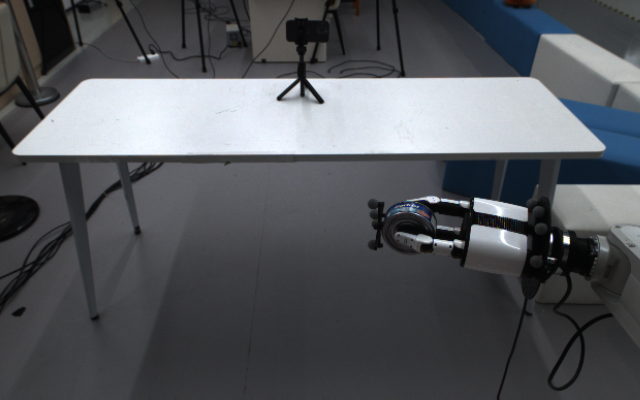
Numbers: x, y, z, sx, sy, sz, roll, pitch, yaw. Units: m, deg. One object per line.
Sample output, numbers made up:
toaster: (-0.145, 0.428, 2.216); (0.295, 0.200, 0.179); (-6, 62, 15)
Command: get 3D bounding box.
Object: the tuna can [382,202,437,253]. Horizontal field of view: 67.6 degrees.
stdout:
tuna can: (0.145, 0.046, 0.773); (0.085, 0.085, 0.034); (9, 32, 10)
